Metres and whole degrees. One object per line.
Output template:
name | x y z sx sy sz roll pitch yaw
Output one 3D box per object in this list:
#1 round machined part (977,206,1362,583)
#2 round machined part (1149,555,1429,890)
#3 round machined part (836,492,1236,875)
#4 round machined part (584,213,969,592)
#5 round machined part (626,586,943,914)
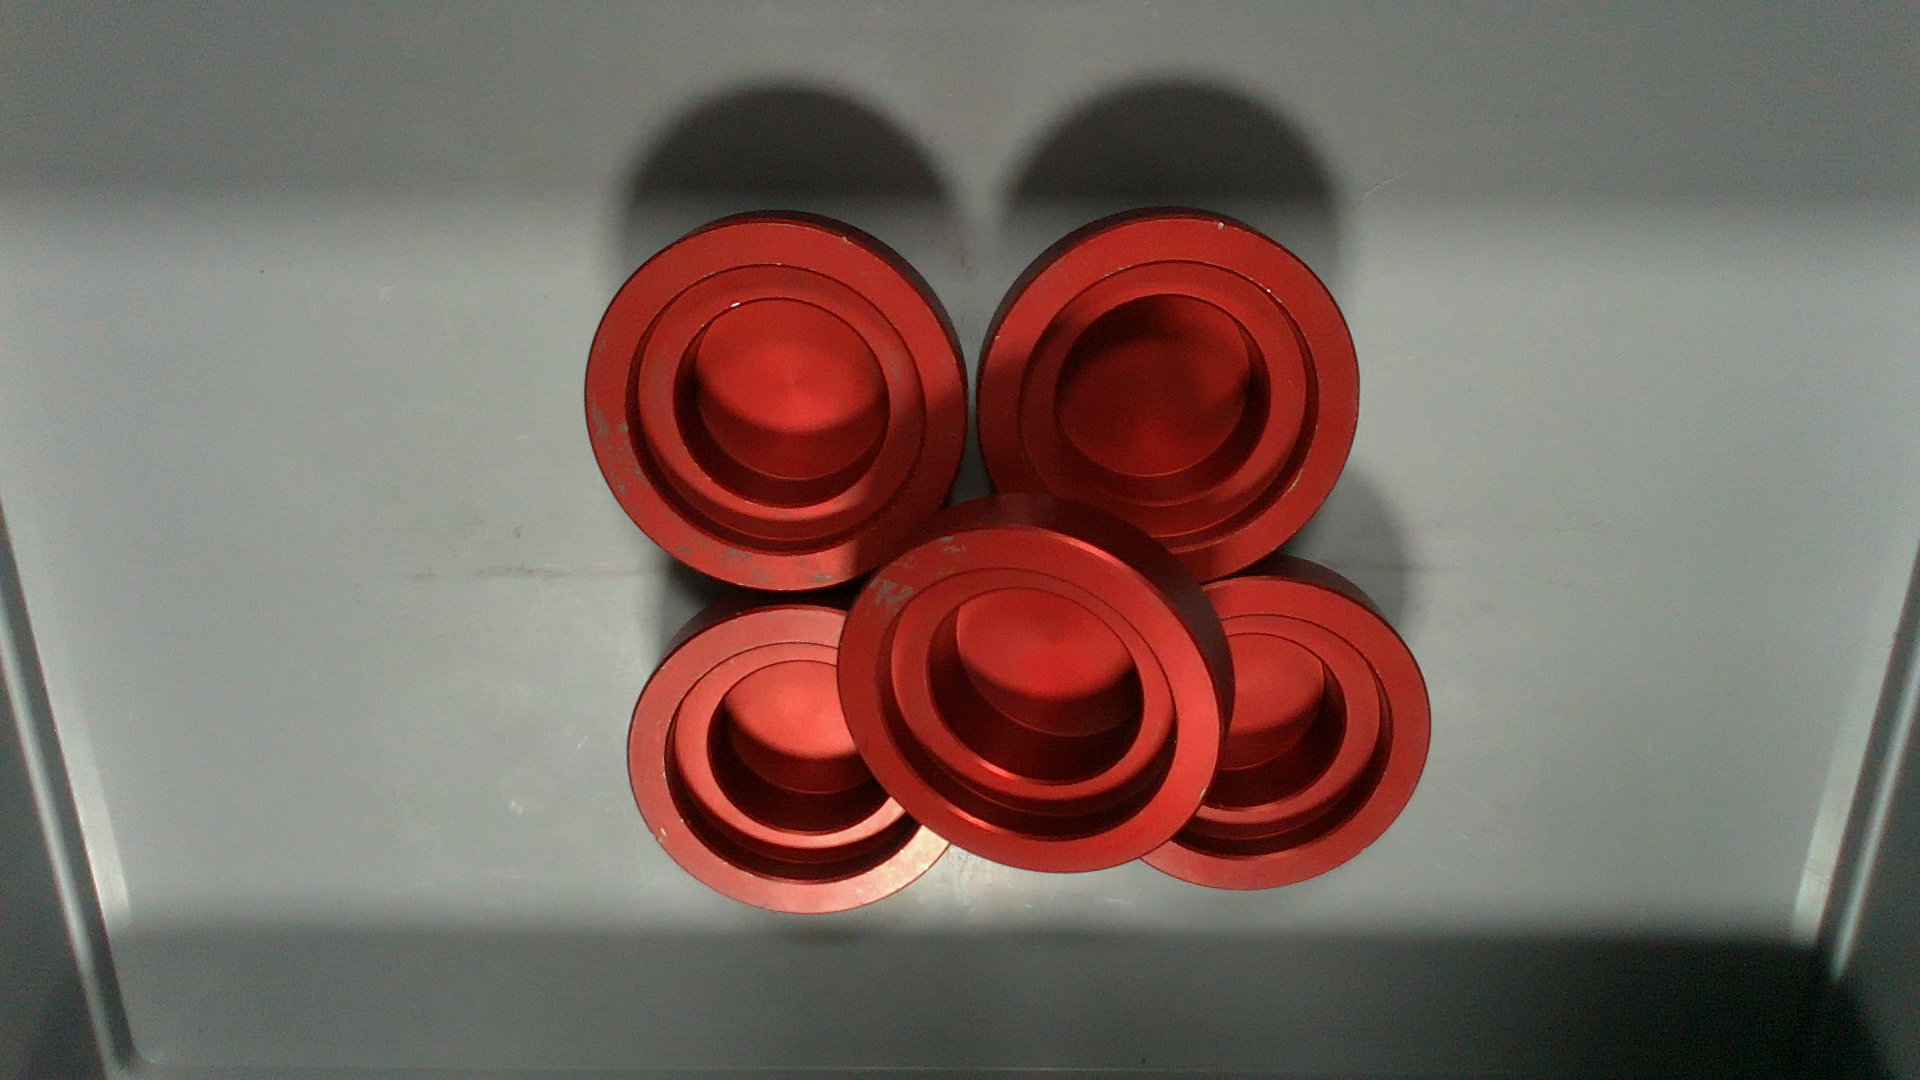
round machined part | 0.053 -0.040 0.369 0.098 0.042 0.098 0 110 0
round machined part | 0.082 0.049 0.402 0.098 0.042 0.098 0 110 0
round machined part | 0.022 0.033 0.350 0.098 0.042 0.098 8 116 16
round machined part | -0.046 -0.039 0.369 0.098 0.042 0.098 0 110 0
round machined part | -0.044 0.057 0.404 0.098 0.042 0.098 0 110 0
